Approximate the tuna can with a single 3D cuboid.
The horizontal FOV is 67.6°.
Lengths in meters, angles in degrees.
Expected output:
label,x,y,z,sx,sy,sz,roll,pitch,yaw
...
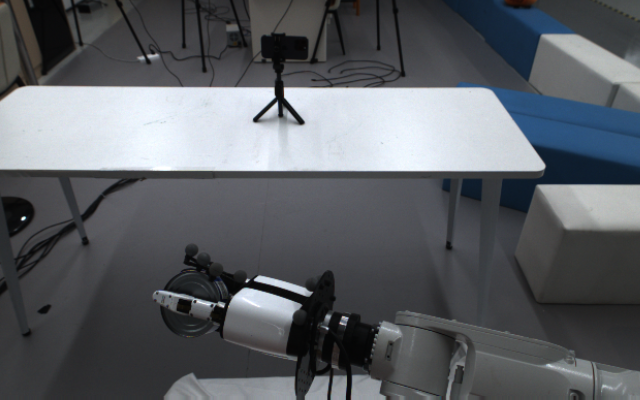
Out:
label,x,y,z,sx,sy,sz,roll,pitch,yaw
tuna can,-0.160,0.136,0.635,0.085,0.085,0.034,14,-6,16
